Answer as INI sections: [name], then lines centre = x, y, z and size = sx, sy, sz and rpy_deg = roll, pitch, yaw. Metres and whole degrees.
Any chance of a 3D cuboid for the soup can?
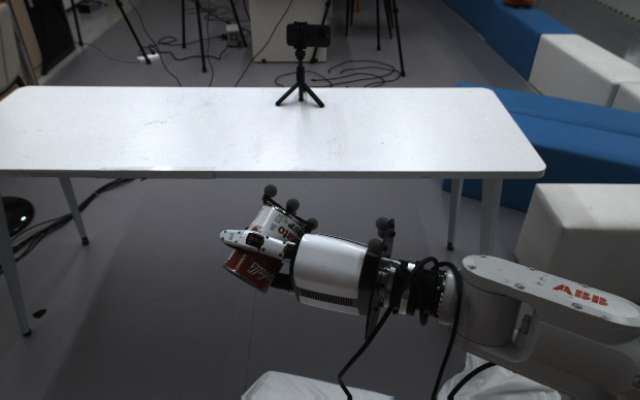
[soup can]
centre = -0.073, 0.064, 0.643
size = 0.067, 0.067, 0.101
rpy_deg = 25, 73, 29
